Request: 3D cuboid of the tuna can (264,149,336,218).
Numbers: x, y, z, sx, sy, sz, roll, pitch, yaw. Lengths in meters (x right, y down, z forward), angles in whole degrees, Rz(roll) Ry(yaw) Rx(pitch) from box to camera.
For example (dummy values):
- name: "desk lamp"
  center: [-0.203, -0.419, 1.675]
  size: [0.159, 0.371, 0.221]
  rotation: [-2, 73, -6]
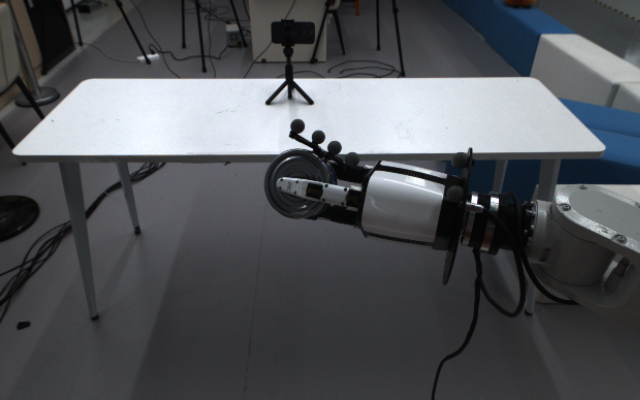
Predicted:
- name: "tuna can"
  center: [-0.020, -0.014, 0.589]
  size: [0.085, 0.085, 0.034]
  rotation: [12, 4, 15]
